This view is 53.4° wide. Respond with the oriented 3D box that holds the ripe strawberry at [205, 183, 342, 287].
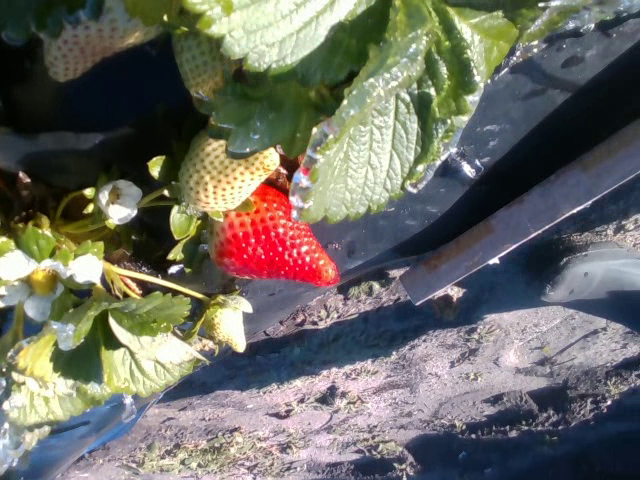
[{"bbox_3d":[-0.015,0.003,0.228,0.053,0.042,0.040,30,-20,4],"label":"ripe strawberry"}]
